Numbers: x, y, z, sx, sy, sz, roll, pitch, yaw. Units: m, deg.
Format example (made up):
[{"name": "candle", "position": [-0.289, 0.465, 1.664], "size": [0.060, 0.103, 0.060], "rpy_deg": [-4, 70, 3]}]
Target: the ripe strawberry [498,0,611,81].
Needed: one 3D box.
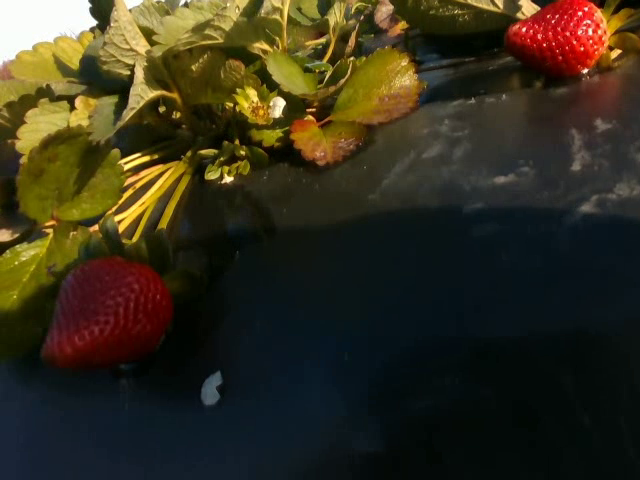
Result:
[{"name": "ripe strawberry", "position": [0.086, -0.077, 0.222], "size": [0.046, 0.035, 0.036], "rpy_deg": [-5, -45, 3]}]

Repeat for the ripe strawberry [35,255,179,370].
[{"name": "ripe strawberry", "position": [-0.071, 0.025, 0.188], "size": [0.045, 0.042, 0.055], "rpy_deg": [-2, 16, 12]}]
